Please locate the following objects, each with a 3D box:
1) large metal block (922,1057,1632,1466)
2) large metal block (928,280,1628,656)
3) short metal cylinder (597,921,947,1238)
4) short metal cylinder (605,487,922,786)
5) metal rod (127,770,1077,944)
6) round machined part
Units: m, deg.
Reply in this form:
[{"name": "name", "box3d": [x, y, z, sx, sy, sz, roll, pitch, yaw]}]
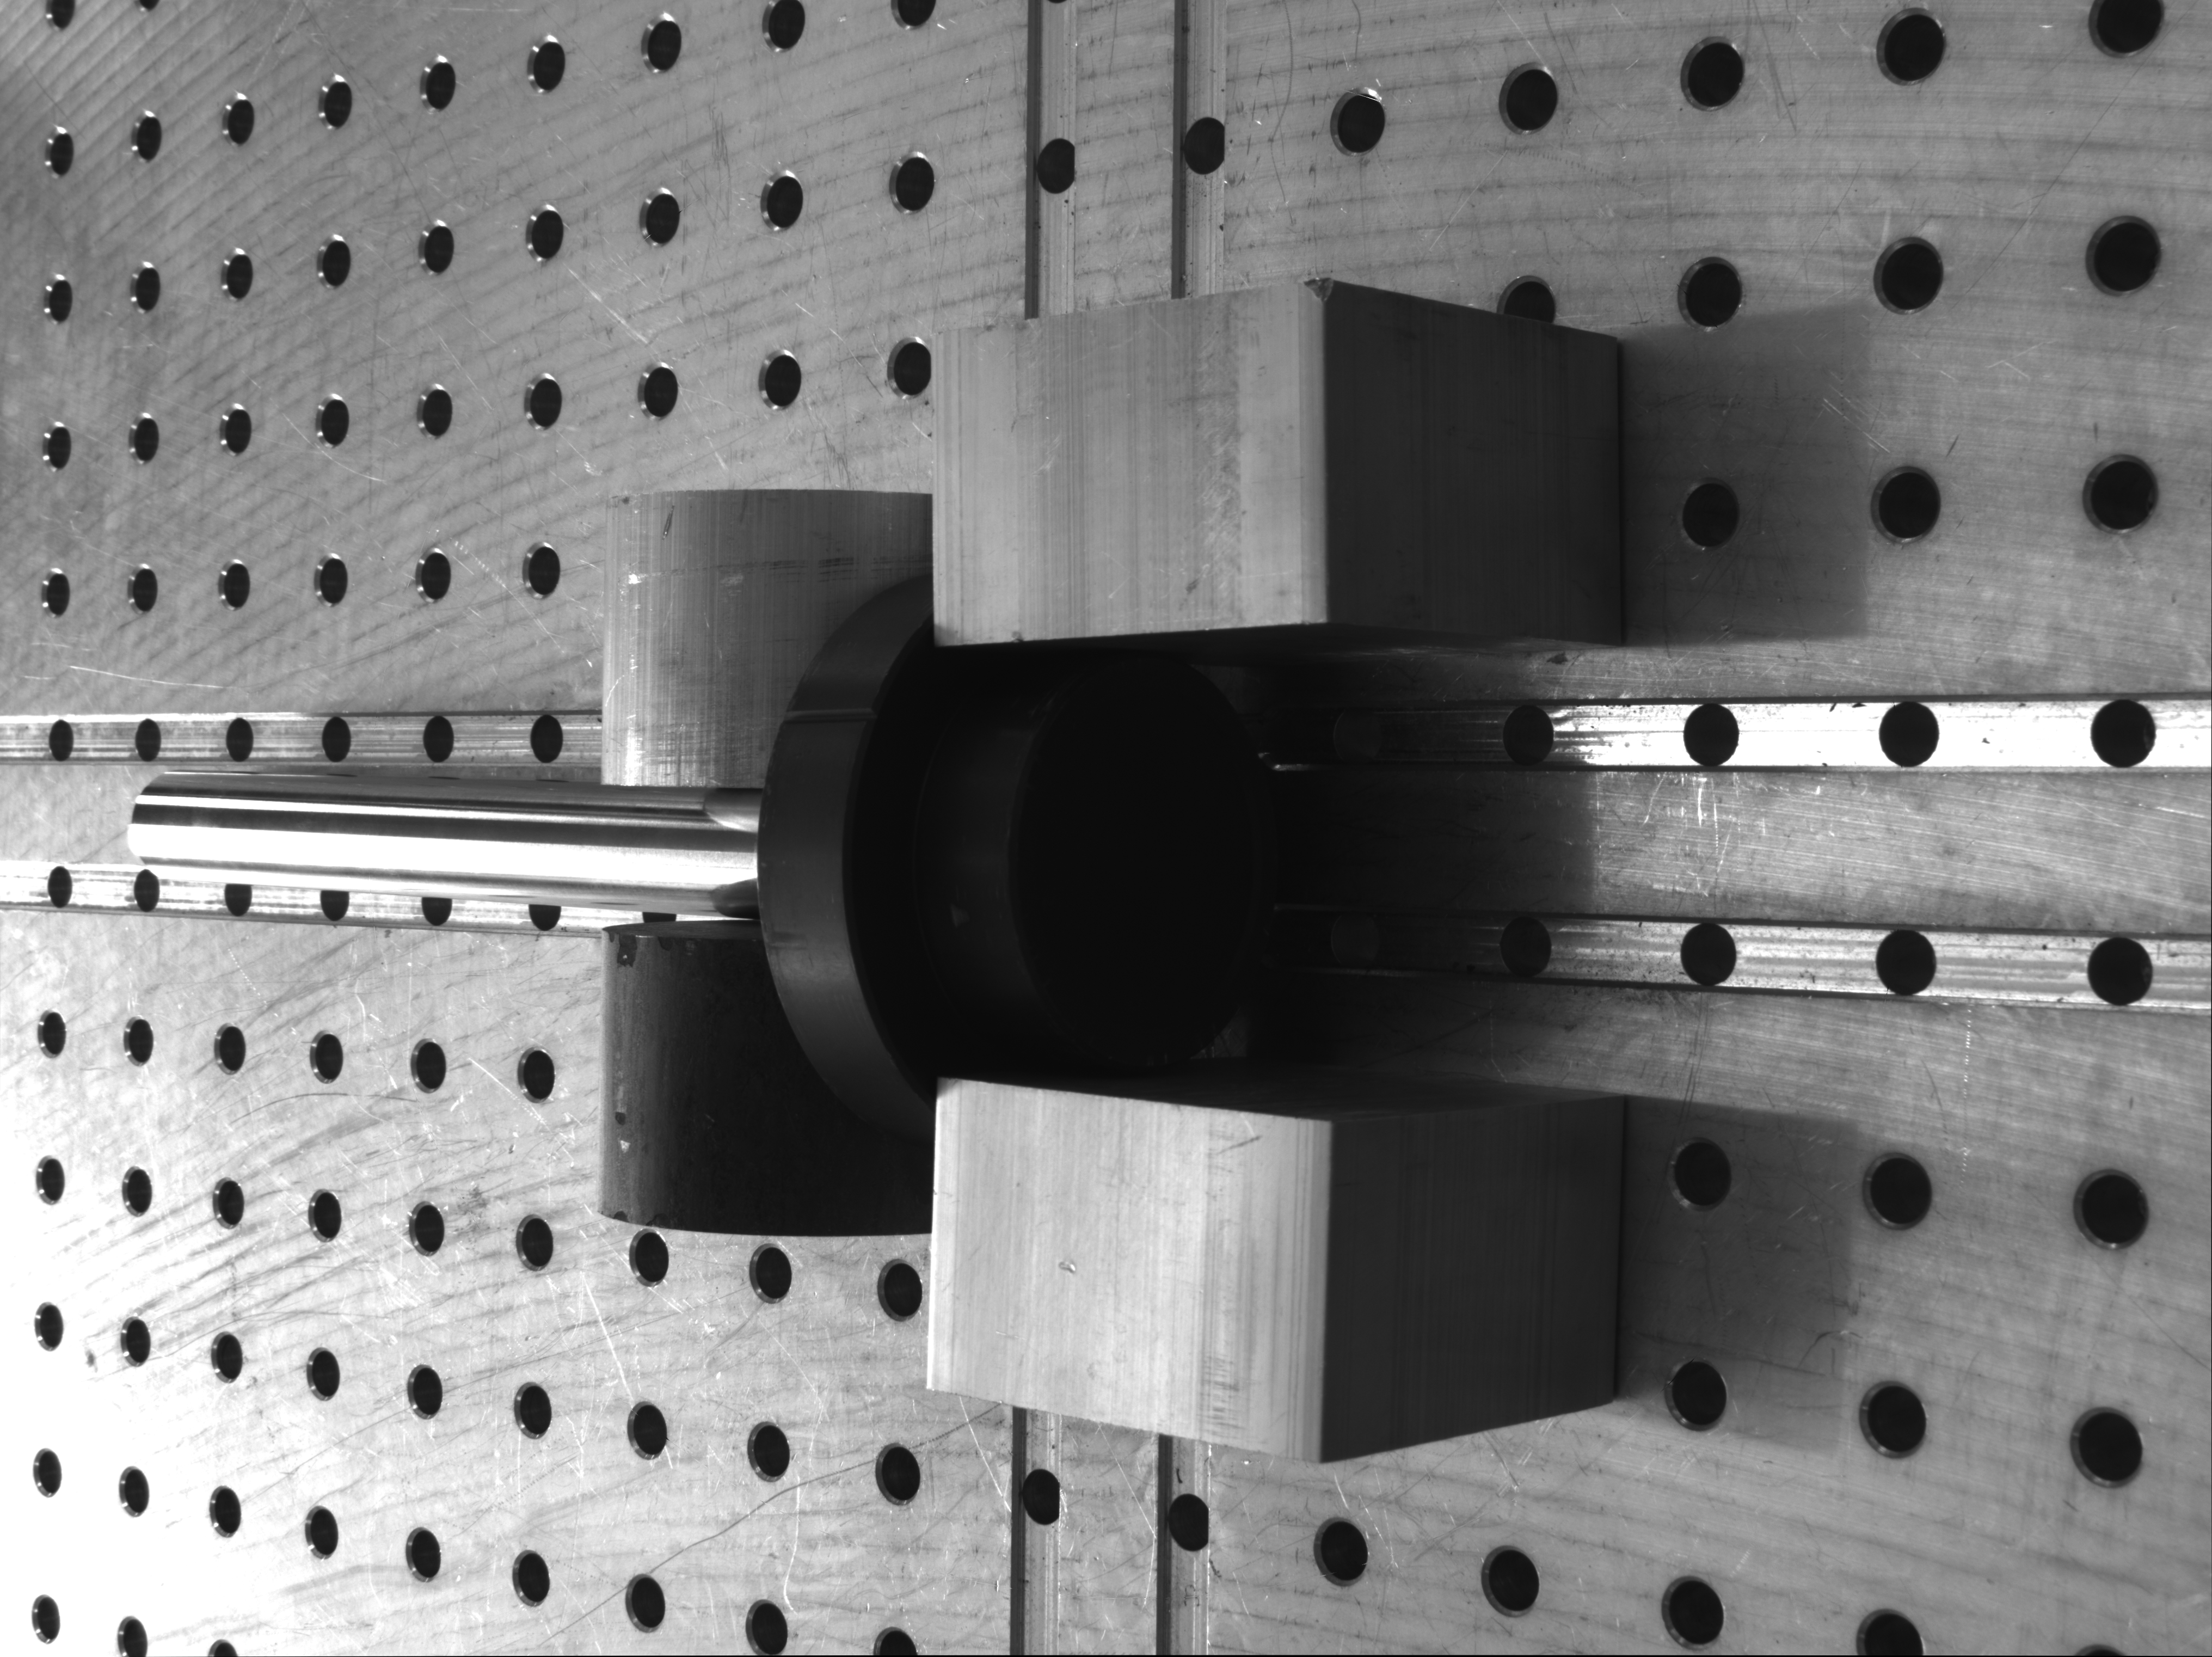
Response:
[{"name": "large metal block", "box3d": [0.028, 0.066, 0.589, 0.080, 0.080, 0.050, 4, 92, 40]}, {"name": "large metal block", "box3d": [0.028, -0.054, 0.589, 0.080, 0.080, 0.050, 0, 90, 40]}, {"name": "short metal cylinder", "box3d": [-0.050, 0.043, 0.653, 0.080, 0.080, 0.050, 2, 91, 40]}, {"name": "short metal cylinder", "box3d": [-0.049, -0.033, 0.653, 0.080, 0.080, 0.050, 1, 91, 40]}, {"name": "metal rod", "box3d": [-0.102, 0.003, 0.718, 0.299, 0.025, 0.025, 2, 91, 44]}, {"name": "round machined part", "box3d": [-0.008, 0.006, 0.607, 0.042, 0.098, 0.098, 1, 90, 40]}]
